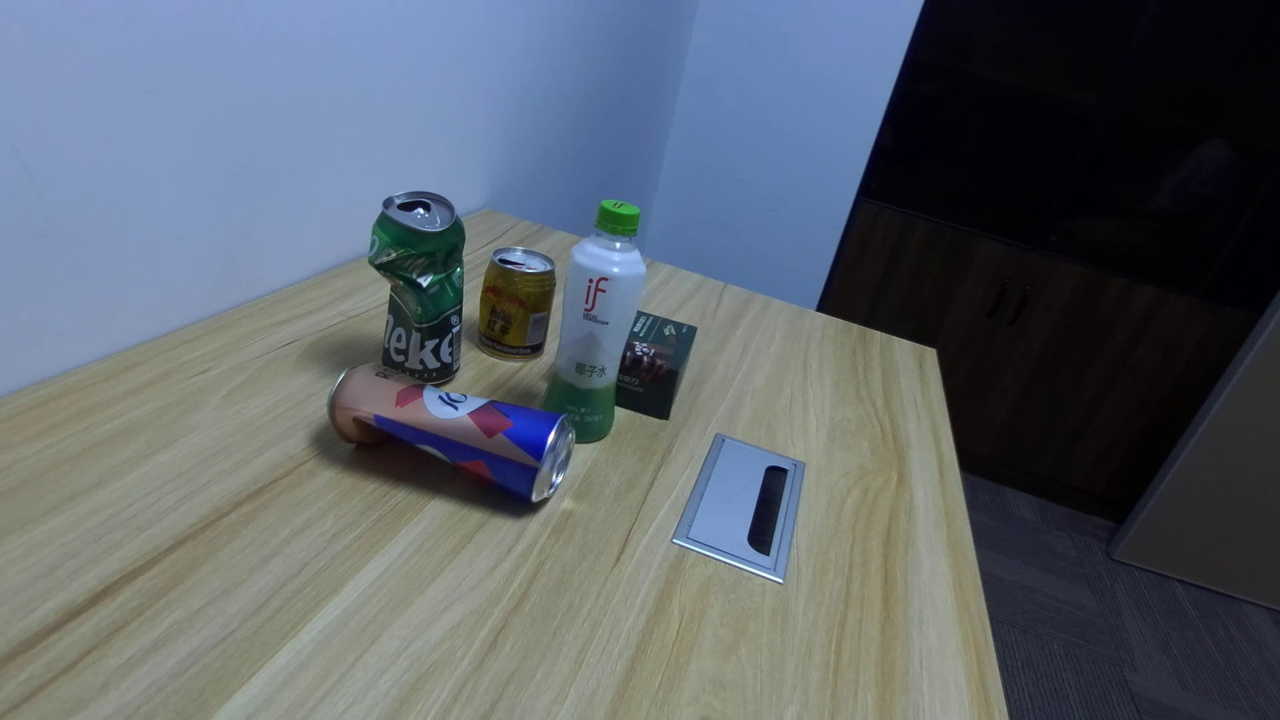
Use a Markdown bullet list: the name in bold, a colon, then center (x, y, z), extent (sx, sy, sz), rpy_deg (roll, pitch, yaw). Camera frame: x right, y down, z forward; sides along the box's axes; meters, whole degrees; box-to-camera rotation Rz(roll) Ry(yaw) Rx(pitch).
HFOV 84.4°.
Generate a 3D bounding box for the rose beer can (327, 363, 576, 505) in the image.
- **rose beer can**: center (-0.132, 0.048, 0.502), extent (0.168, 0.069, 0.070), rpy_deg (15, 45, 7)

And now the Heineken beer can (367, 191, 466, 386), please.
- **Heineken beer can**: center (-0.179, -0.055, 0.581), extent (0.067, 0.159, 0.078), rpy_deg (4, 33, -12)

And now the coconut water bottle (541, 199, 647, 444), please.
- **coconut water bottle**: center (-0.034, -0.029, 0.555), extent (0.063, 0.188, 0.063), rpy_deg (11, 26, -5)

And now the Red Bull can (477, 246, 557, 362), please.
- **Red Bull can**: center (-0.116, -0.054, 0.673), extent (0.069, 0.092, 0.069), rpy_deg (11, 28, -6)

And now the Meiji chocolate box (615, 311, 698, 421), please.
- **Meiji chocolate box**: center (-0.010, -0.004, 0.673), extent (0.109, 0.056, 0.110), rpy_deg (16, 26, 6)
